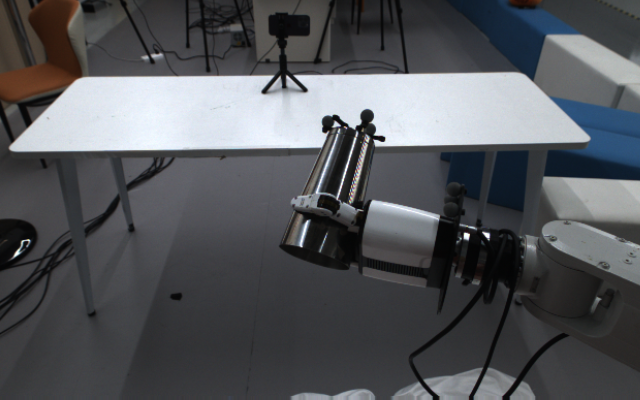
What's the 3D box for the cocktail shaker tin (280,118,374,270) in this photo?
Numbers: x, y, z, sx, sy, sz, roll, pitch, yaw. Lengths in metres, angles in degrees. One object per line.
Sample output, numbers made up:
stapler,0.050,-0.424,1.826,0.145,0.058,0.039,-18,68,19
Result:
cocktail shaker tin,0.016,-0.004,0.627,0.093,0.093,0.170,14,72,16
